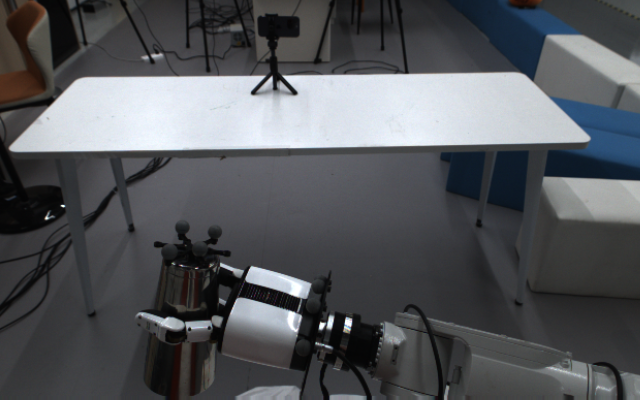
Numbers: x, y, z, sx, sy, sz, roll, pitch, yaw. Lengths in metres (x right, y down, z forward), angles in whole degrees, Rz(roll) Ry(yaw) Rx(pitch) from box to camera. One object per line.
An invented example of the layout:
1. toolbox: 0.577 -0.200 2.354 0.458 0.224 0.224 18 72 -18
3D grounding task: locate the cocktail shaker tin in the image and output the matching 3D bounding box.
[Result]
1. cocktail shaker tin: -0.165 0.145 0.600 0.093 0.170 0.093 10 19 -3
